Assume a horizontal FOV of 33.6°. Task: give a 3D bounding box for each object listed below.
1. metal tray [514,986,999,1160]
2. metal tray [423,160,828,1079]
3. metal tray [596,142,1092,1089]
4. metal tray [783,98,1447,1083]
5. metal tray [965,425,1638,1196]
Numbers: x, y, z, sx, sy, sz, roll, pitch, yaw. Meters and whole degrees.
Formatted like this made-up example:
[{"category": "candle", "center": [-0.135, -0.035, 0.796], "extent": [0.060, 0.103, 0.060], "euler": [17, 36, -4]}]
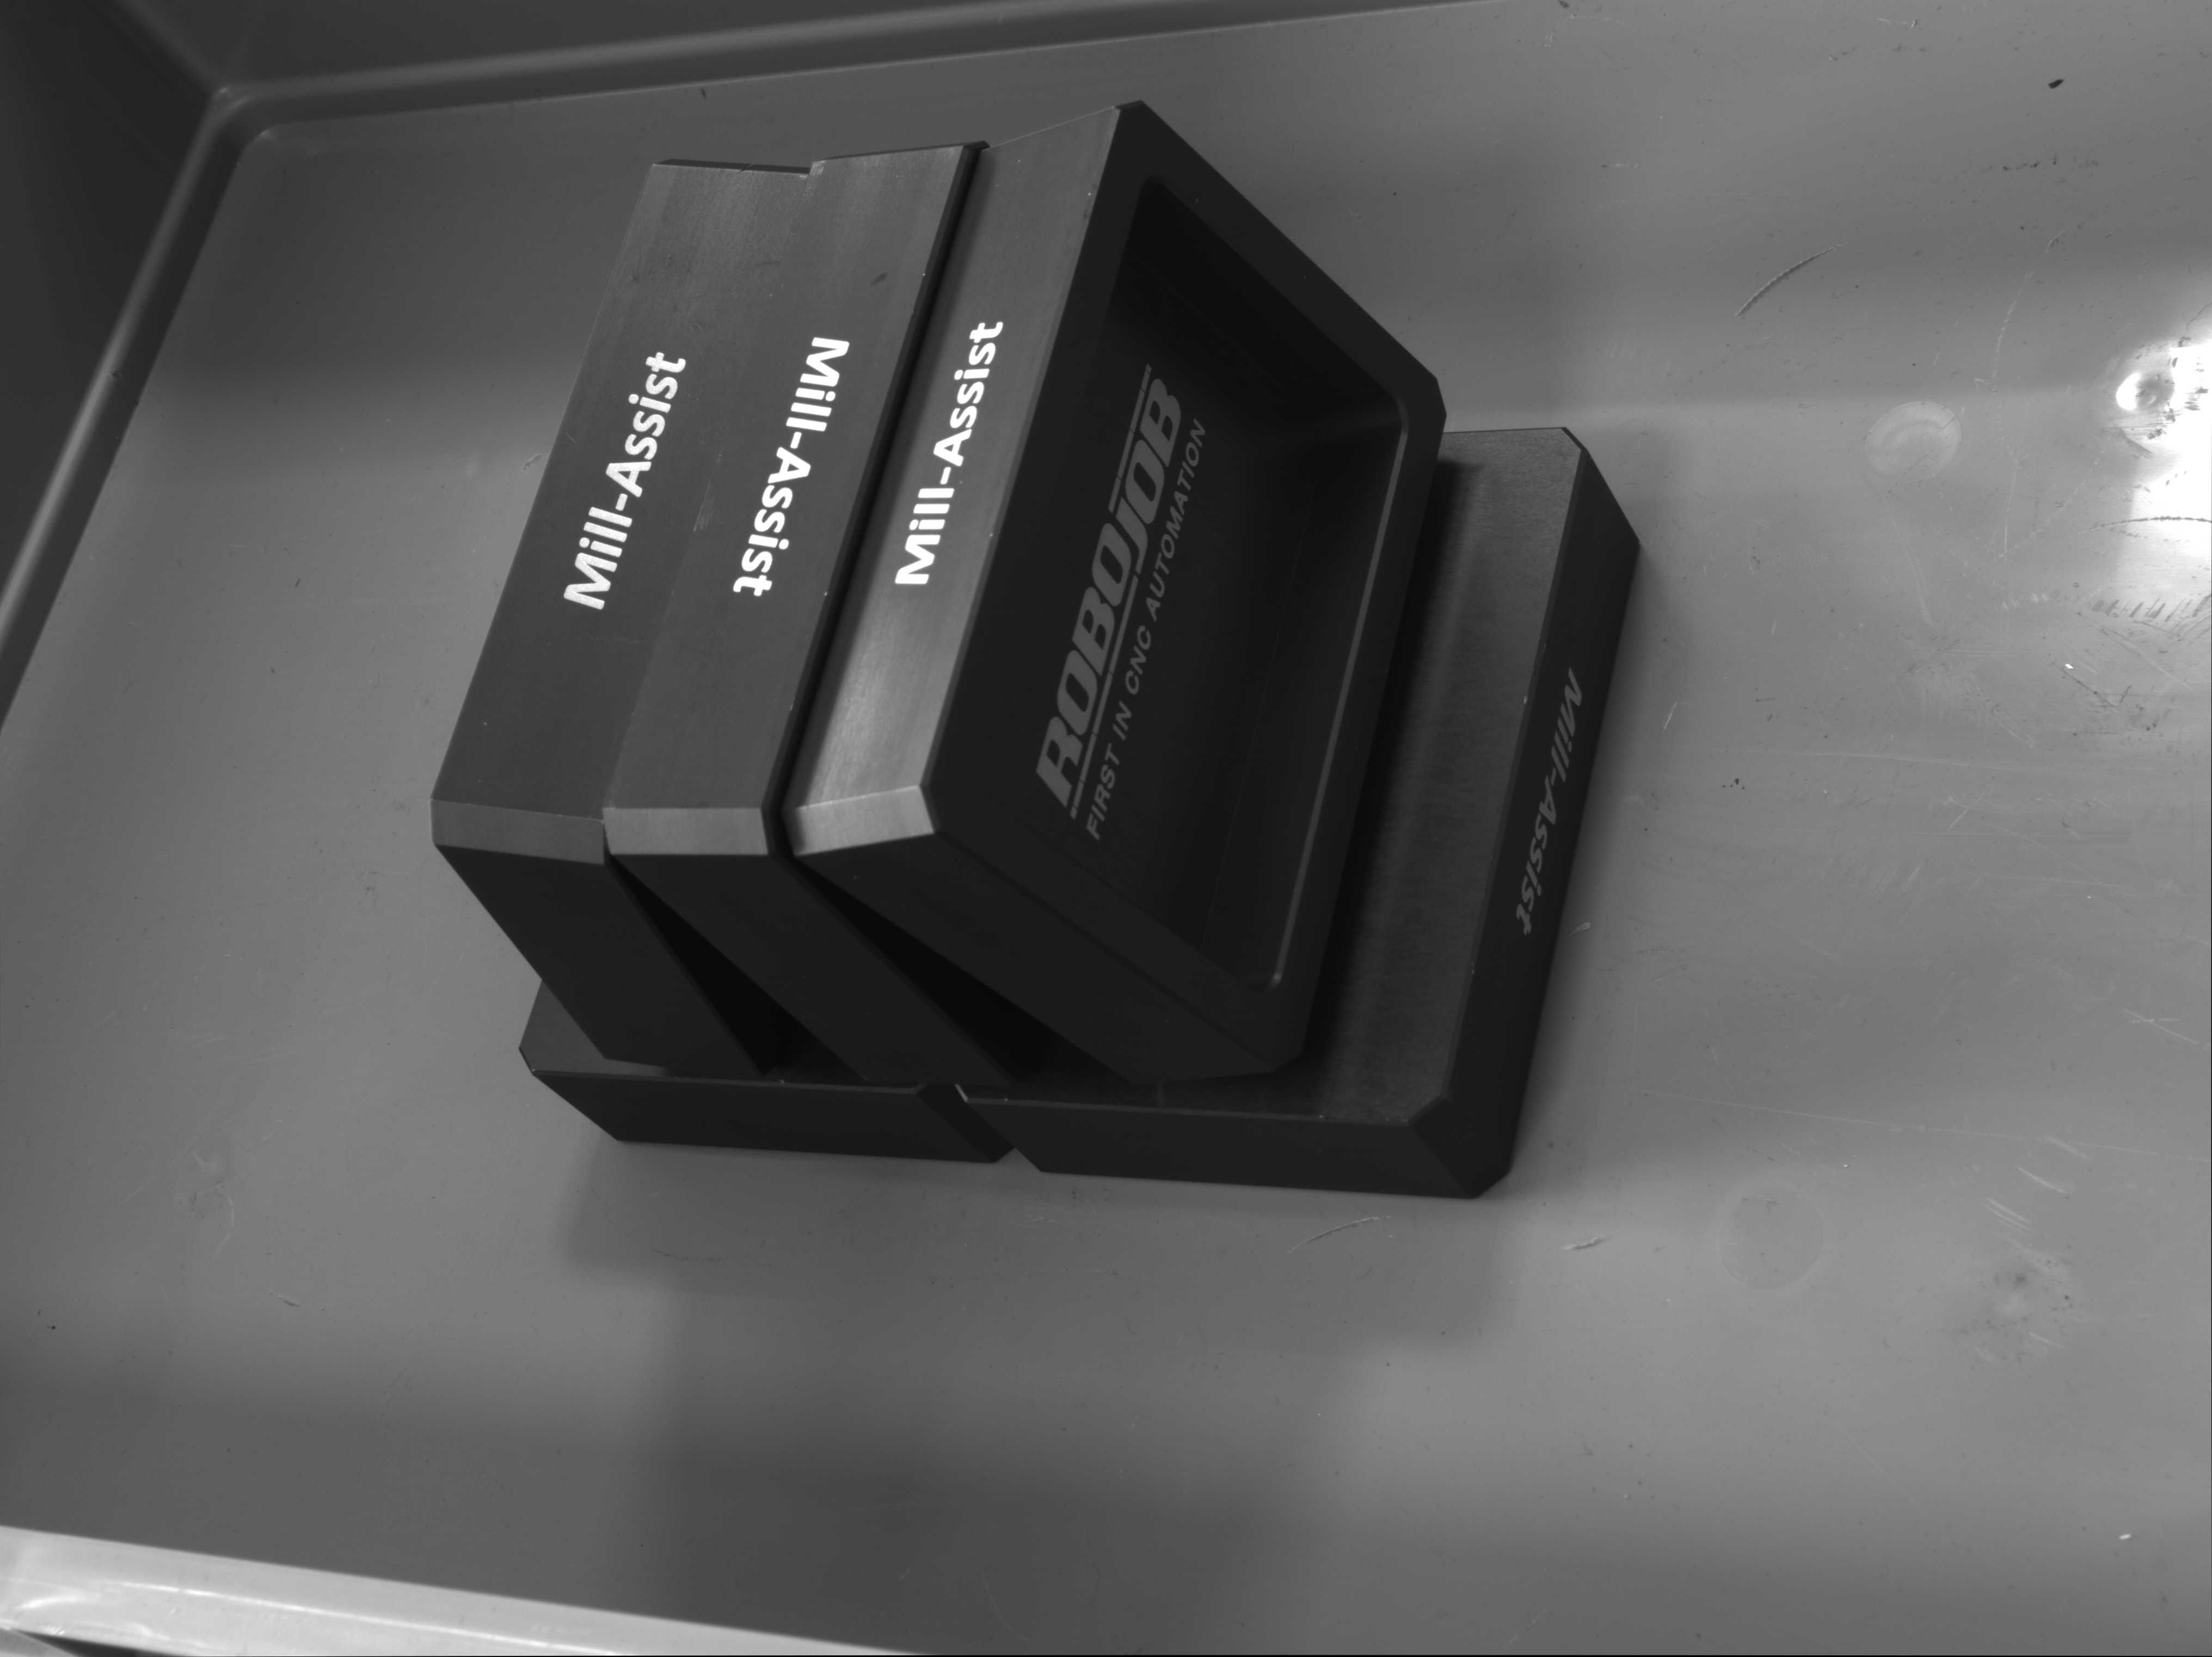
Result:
[{"category": "metal tray", "center": [-0.046, -0.007, 0.668], "extent": [0.090, 0.030, 0.130], "euler": [0, 62, 29]}, {"category": "metal tray", "center": [-0.066, -0.035, 0.616], "extent": [0.030, 0.090, 0.130], "euler": [6, 64, 17]}, {"category": "metal tray", "center": [-0.030, -0.034, 0.598], "extent": [0.030, 0.090, 0.130], "euler": [0, 59, 29]}, {"category": "metal tray", "center": [0.005, -0.037, 0.579], "extent": [0.030, 0.090, 0.130], "euler": [-9, 57, 41]}, {"category": "metal tray", "center": [0.033, -0.005, 0.625], "extent": [0.090, 0.030, 0.130], "euler": [0, 62, 29]}]
